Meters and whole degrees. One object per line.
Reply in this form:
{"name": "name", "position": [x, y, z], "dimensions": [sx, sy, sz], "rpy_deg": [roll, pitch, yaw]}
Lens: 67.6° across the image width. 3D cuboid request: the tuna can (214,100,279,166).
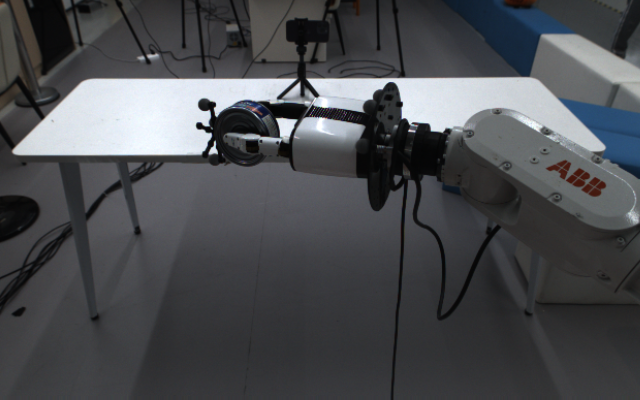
{"name": "tuna can", "position": [-0.099, -0.092, 0.659], "dimensions": [0.085, 0.085, 0.034], "rpy_deg": [12, 28, 14]}
